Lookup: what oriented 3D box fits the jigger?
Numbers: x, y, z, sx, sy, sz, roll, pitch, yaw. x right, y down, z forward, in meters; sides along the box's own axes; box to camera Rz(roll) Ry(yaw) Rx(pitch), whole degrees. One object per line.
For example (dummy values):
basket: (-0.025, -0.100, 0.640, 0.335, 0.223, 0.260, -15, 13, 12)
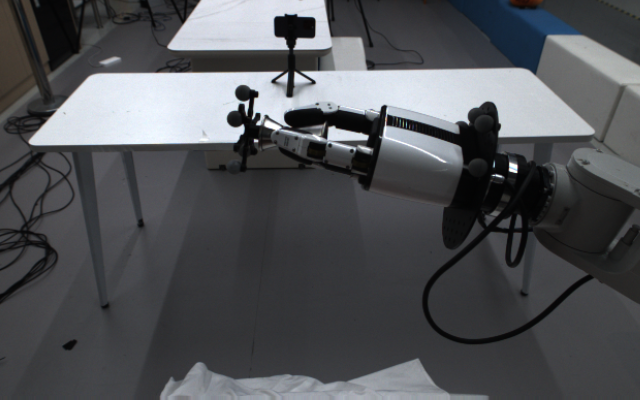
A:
jigger: (-0.021, -0.070, 0.525, 0.071, 0.043, 0.043, 8, 35, 5)
